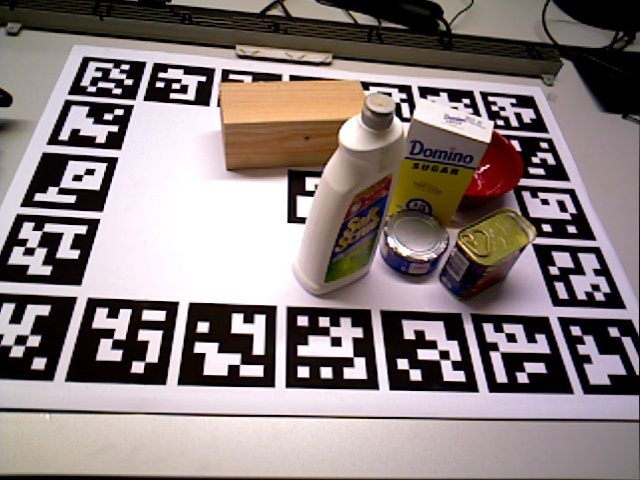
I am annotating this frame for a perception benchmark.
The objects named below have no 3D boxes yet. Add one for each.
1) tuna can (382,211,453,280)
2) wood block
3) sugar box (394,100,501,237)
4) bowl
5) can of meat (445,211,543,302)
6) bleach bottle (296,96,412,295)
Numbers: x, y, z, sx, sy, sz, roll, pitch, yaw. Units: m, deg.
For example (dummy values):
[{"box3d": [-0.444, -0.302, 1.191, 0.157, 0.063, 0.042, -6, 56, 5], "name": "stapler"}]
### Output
[{"box3d": [0.120, 0.007, 0.682, 0.085, 0.034, 0.084, 3, 55, -5], "name": "tuna can"}, {"box3d": [-0.039, -0.162, 0.762, 0.204, 0.092, 0.090, -4, 57, -13], "name": "wood block"}, {"box3d": [0.149, -0.085, 0.665, 0.093, 0.180, 0.044, 18, 53, 9], "name": "sugar box"}, {"box3d": [0.216, -0.105, 0.773, 0.161, 0.056, 0.159, 1, 52, -3], "name": "bowl"}, {"box3d": [0.208, 0.019, 0.661, 0.100, 0.086, 0.057, -22, 55, -26], "name": "can of meat"}, {"box3d": [0.036, -0.046, 0.575, 0.101, 0.257, 0.067, -19, 56, -22], "name": "bleach bottle"}]
